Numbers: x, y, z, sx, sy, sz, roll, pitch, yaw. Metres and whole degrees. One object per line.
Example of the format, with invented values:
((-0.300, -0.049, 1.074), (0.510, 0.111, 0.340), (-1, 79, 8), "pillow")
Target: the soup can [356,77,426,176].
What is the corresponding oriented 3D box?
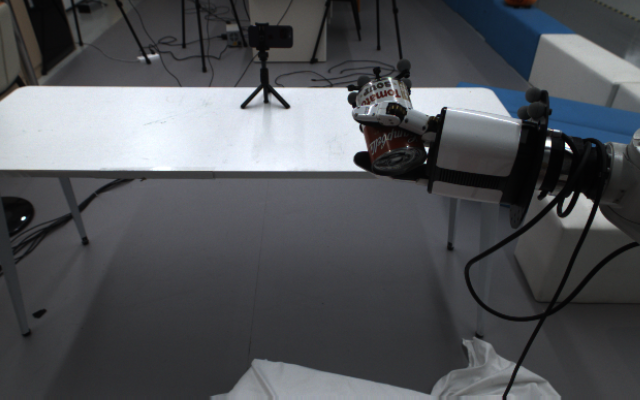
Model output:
((0.089, -0.092, 0.597), (0.067, 0.067, 0.101), (-8, 68, -14), "soup can")
